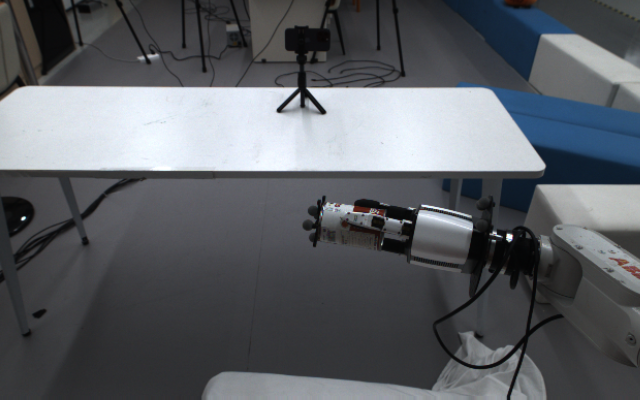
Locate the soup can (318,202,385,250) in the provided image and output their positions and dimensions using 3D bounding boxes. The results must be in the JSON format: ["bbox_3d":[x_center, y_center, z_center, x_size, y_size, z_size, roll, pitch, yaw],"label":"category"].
[{"bbox_3d":[0.055,0.042,0.781,0.101,0.067,0.067,7,35,10],"label":"soup can"}]
